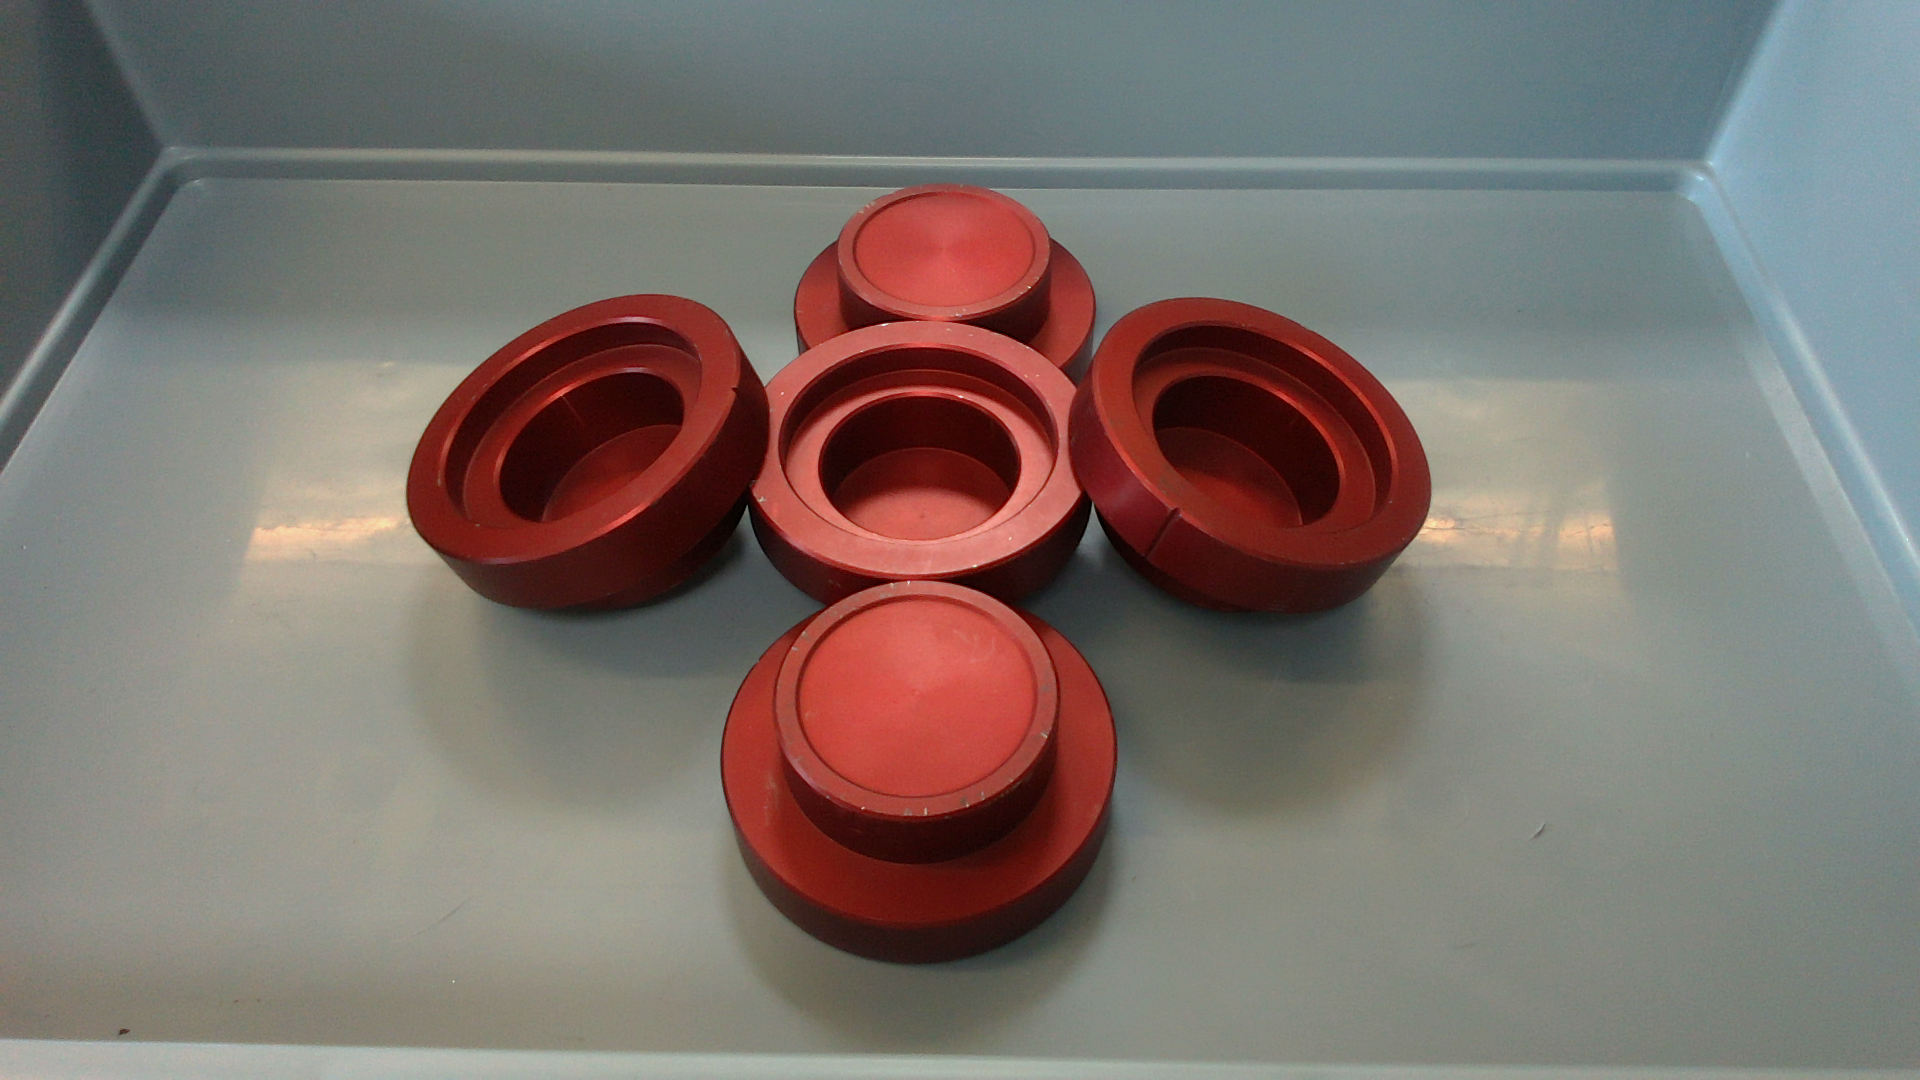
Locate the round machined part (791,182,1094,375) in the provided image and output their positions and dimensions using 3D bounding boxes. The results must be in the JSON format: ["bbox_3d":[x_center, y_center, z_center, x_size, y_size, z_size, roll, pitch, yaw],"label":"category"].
[{"bbox_3d":[-0.006,-0.078,0.445,0.098,0.042,0.098,0,50,0],"label":"round machined part"}]

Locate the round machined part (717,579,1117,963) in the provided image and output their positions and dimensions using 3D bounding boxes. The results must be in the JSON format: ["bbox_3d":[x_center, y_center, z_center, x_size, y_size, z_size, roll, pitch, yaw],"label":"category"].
[{"bbox_3d":[-0.010,0.049,0.338,0.098,0.042,0.098,0,50,0],"label":"round machined part"}]

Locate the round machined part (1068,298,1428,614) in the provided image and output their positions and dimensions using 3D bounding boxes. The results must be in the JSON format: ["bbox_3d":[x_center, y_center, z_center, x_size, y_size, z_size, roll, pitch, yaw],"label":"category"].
[{"bbox_3d":[0.076,-0.019,0.384,0.098,0.042,0.098,11,49,-12],"label":"round machined part"}]

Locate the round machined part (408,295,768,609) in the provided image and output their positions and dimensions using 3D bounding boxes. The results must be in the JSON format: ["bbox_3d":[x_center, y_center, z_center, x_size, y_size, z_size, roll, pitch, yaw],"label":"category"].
[{"bbox_3d":[-0.099,-0.020,0.385,0.098,0.042,0.098,-11,48,13],"label":"round machined part"}]

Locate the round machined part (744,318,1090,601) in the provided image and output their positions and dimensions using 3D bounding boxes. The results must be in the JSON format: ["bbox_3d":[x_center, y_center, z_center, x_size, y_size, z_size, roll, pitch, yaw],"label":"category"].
[{"bbox_3d":[-0.011,-0.015,0.391,0.098,0.042,0.098,0,50,0],"label":"round machined part"}]
